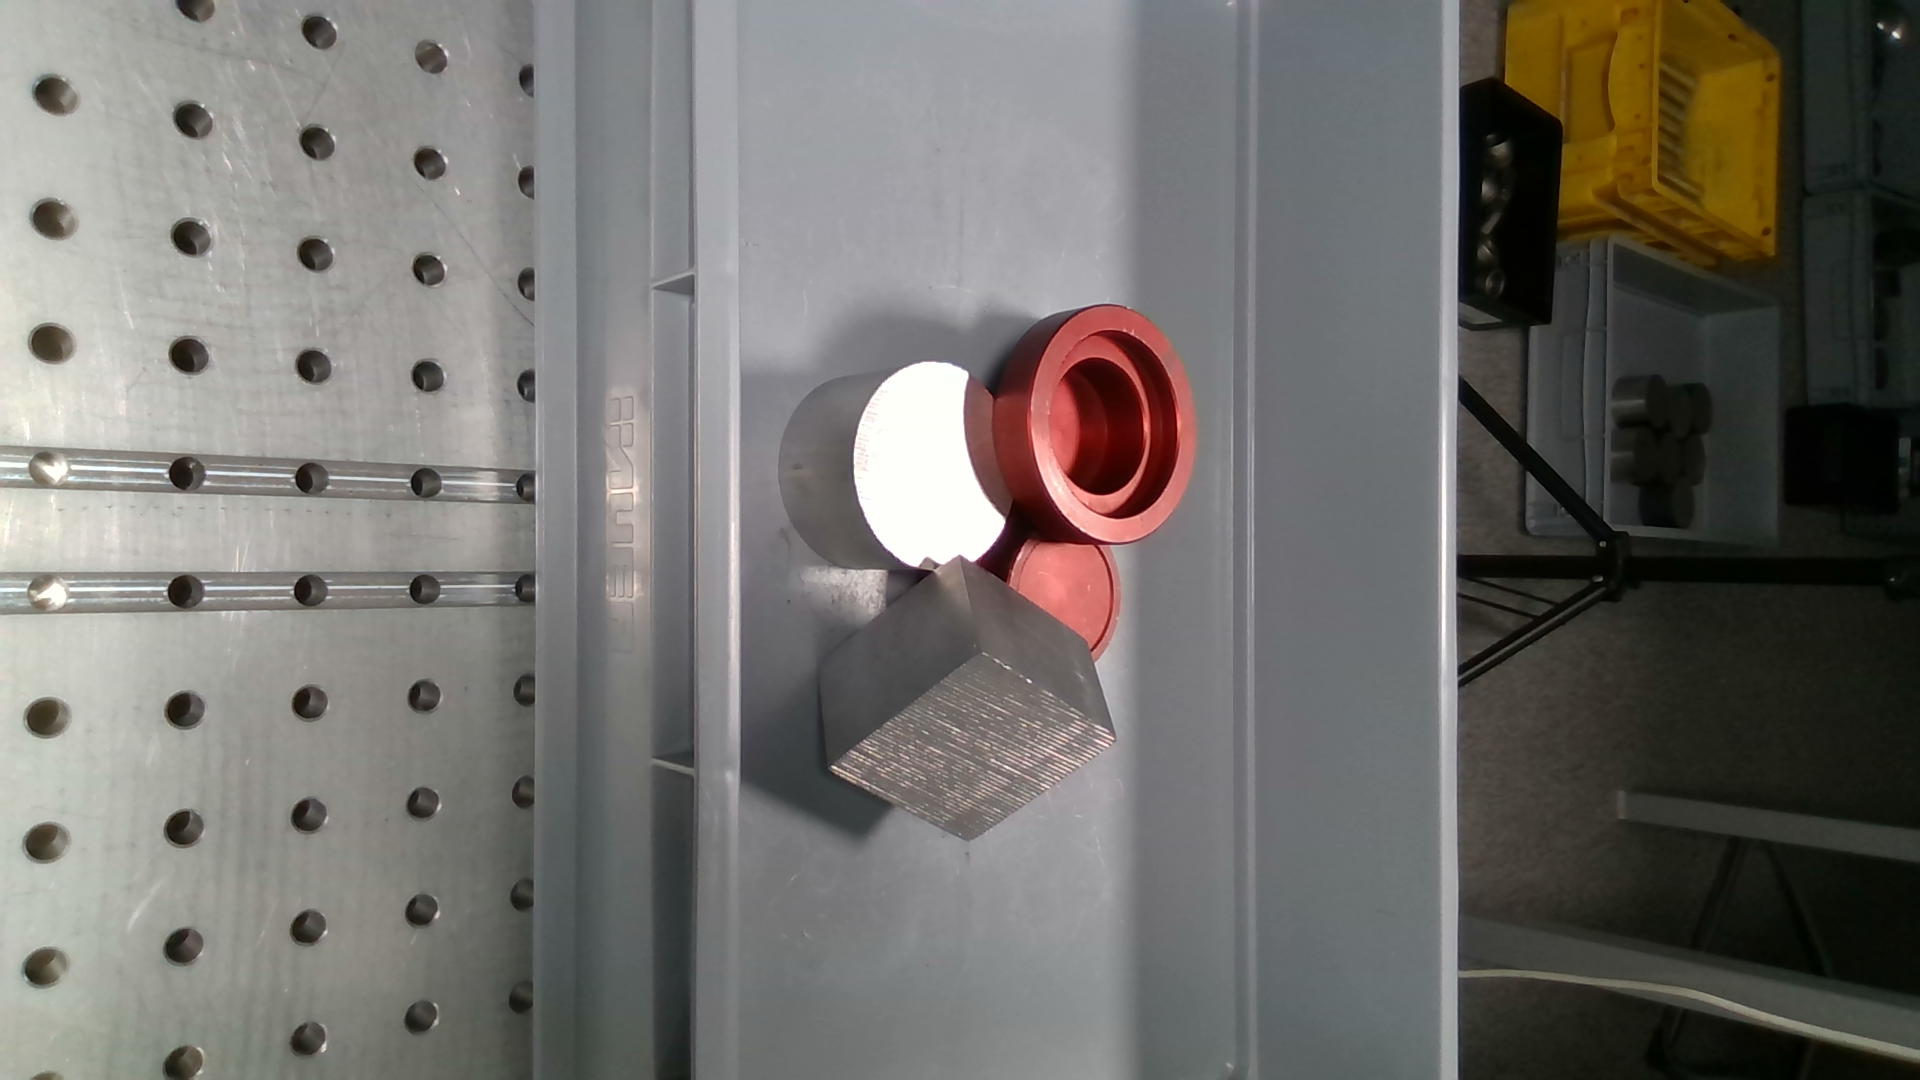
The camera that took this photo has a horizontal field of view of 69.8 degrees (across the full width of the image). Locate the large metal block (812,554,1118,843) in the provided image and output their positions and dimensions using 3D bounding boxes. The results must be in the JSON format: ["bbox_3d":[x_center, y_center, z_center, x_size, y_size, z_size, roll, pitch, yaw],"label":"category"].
[{"bbox_3d":[0.001,0.064,0.538,0.080,0.080,0.050,35,27,-35],"label":"large metal block"}]

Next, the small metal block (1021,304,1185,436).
[{"bbox_3d":[0.064,-0.075,0.619,0.050,0.050,0.025,51,60,-27],"label":"small metal block"}]

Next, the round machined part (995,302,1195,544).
[{"bbox_3d":[0.051,-0.047,0.575,0.098,0.042,0.098,0,90,-40],"label":"round machined part"}]

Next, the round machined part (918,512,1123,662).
[{"bbox_3d":[0.032,0.024,0.596,0.098,0.042,0.098,0,90,-40],"label":"round machined part"}]

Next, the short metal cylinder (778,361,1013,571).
[{"bbox_3d":[-0.024,-0.028,0.544,0.080,0.050,0.080,0,90,-40],"label":"short metal cylinder"}]
